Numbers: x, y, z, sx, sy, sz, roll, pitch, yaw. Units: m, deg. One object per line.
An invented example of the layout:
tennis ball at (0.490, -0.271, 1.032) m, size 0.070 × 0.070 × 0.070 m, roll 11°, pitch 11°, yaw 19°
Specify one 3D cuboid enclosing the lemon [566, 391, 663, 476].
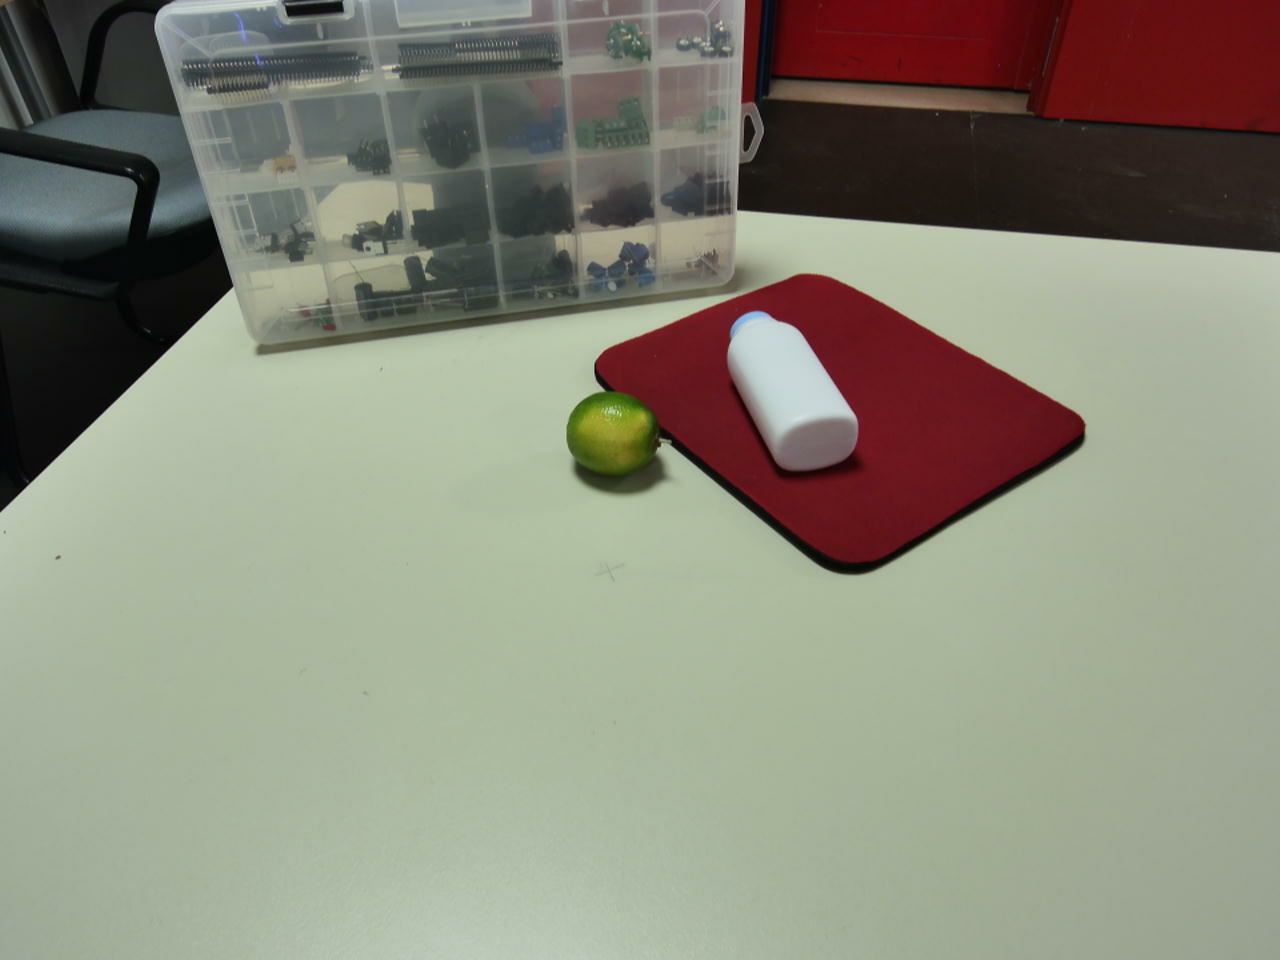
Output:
lemon at (-0.017, -0.028, 0.608) m, size 0.054 × 0.050 × 0.055 m, roll -17°, pitch 42°, yaw -21°
